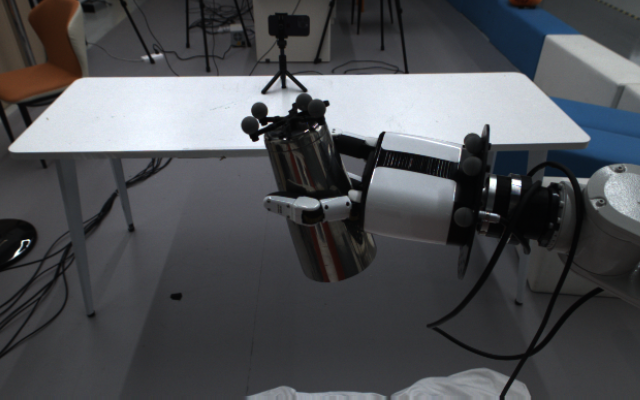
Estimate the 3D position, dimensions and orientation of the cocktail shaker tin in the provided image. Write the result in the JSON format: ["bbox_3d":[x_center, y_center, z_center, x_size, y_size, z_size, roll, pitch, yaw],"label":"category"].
[{"bbox_3d":[-0.001,-0.004,0.532,0.093,0.170,0.093,-15,29,8],"label":"cocktail shaker tin"}]
